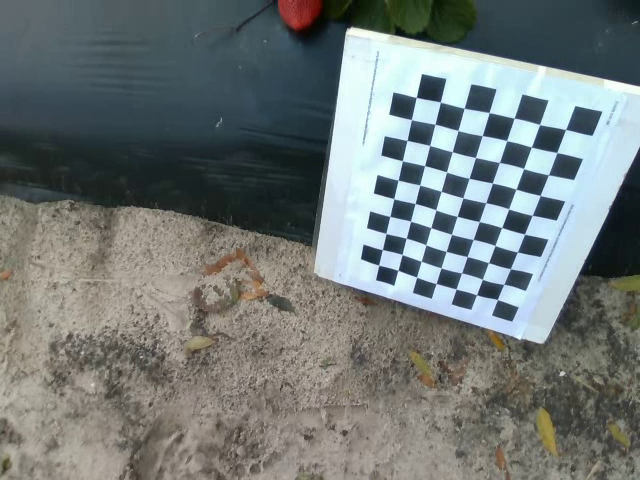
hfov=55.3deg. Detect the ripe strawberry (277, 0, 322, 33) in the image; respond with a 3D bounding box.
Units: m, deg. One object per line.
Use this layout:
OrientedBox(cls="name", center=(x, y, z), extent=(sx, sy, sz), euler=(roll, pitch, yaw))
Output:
OrientedBox(cls="ripe strawberry", center=(-0.019, -0.185, 0.496), extent=(0.037, 0.046, 0.036), euler=(-25, -33, 37))
